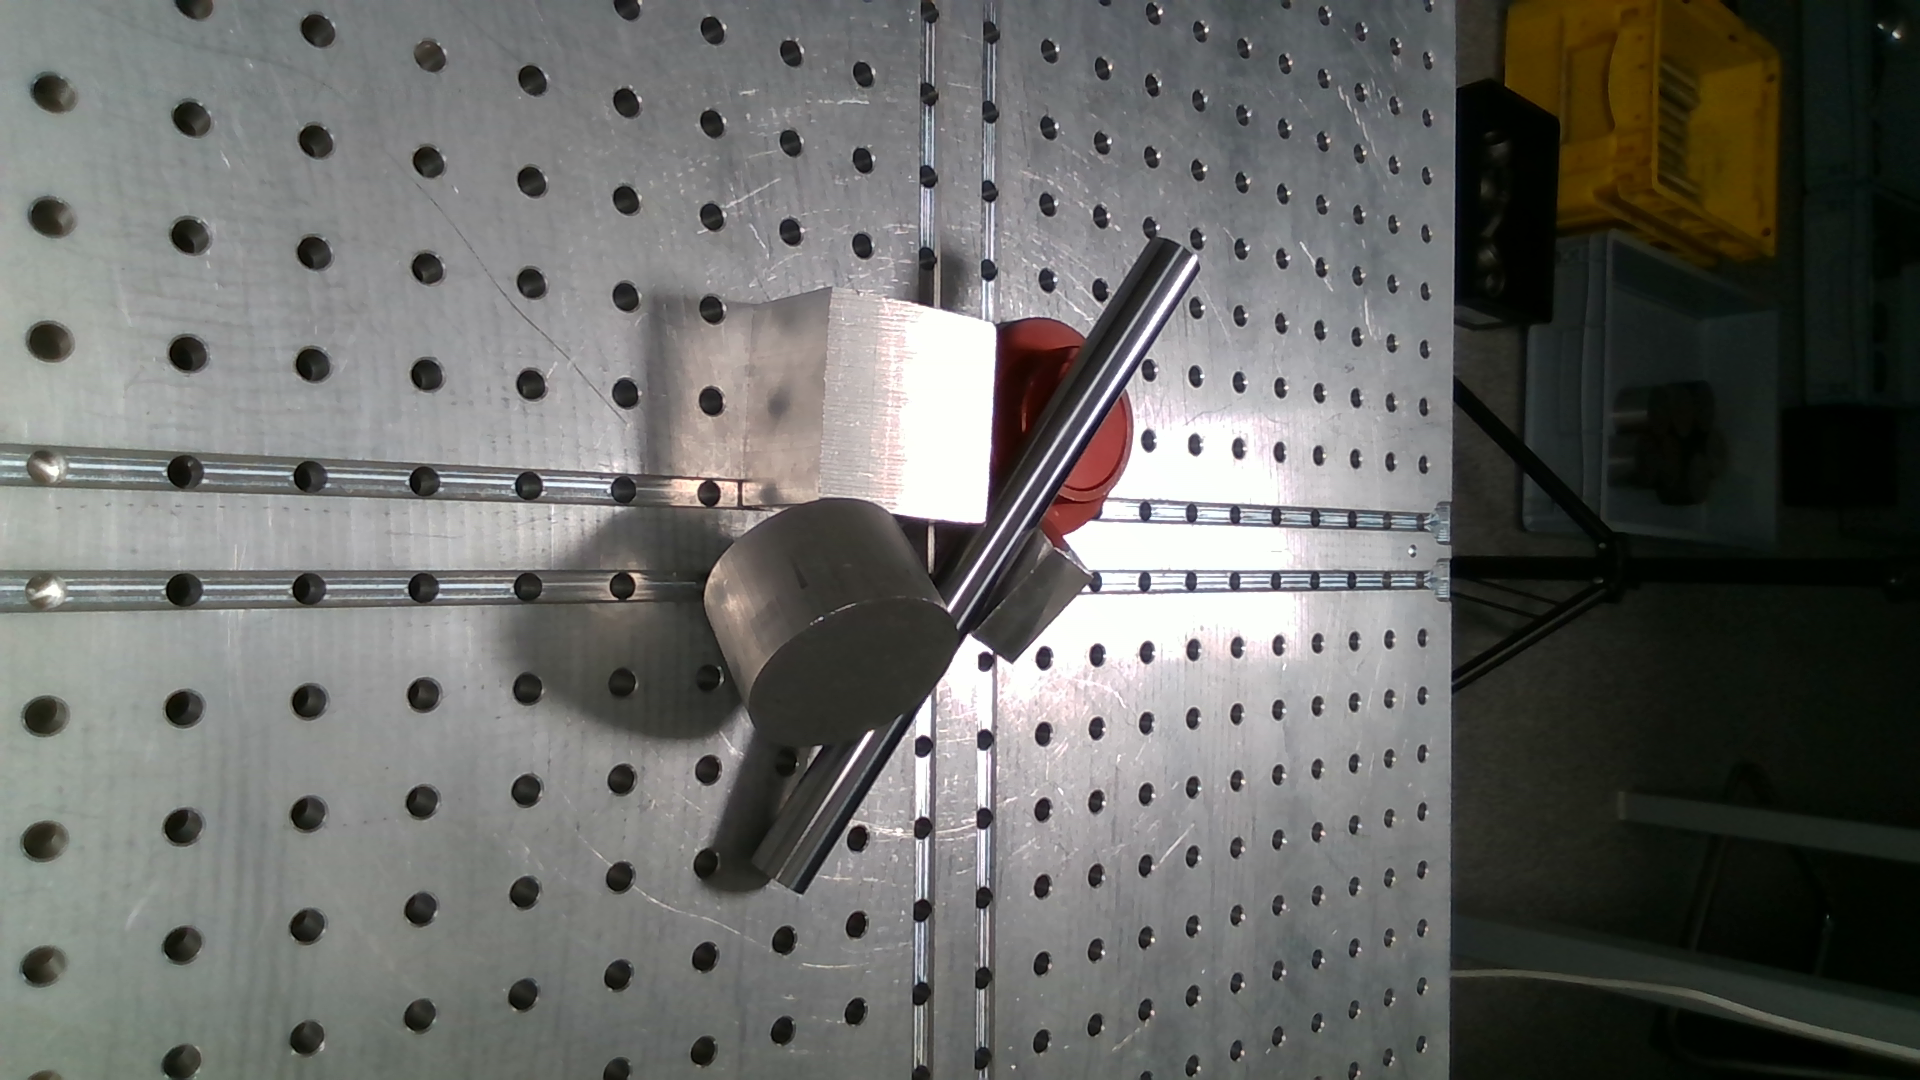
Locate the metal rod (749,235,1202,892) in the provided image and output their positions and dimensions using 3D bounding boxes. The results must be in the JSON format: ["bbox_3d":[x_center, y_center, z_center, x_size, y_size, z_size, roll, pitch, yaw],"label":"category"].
[{"bbox_3d":[0.010,0.004,0.552,0.025,0.025,0.300,39,79,-33],"label":"metal rod"}]

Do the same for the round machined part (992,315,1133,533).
[{"bbox_3d":[0.038,-0.050,0.608,0.098,0.042,0.098,0,90,-40],"label":"round machined part"}]

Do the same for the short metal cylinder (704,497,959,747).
[{"bbox_3d":[-0.047,0.030,0.502,0.080,0.050,0.080,-19,143,-15],"label":"short metal cylinder"}]

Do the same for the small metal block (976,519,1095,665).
[{"bbox_3d":[0.022,0.016,0.576,0.025,0.050,0.050,36,102,-31],"label":"small metal block"}]

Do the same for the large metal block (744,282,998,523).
[{"bbox_3d":[-0.034,-0.050,0.538,0.080,0.050,0.080,6,86,-40],"label":"large metal block"}]
